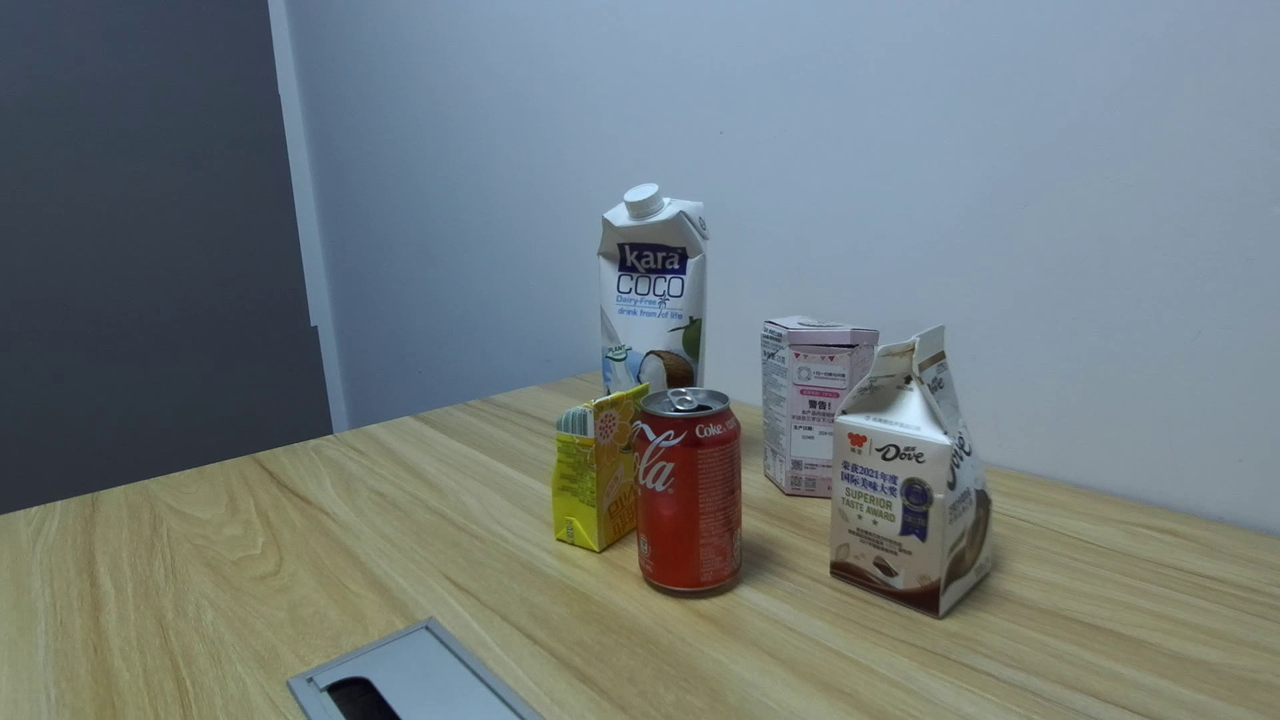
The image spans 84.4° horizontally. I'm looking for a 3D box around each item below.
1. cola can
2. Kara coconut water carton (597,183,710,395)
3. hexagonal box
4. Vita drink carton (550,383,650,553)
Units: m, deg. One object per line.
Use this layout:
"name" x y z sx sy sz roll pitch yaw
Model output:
"cola can" 0.030 0.079 0.440 0.068 0.120 0.068 -3 15 1
"Kara coconut water carton" 0.013 -0.022 0.593 0.099 0.244 0.071 2 14 23
"hexagonal box" 0.144 0.035 0.567 0.092 0.135 0.085 2 14 19
"Vita drink carton" -0.027 0.071 0.503 0.046 0.109 0.071 10 17 36
